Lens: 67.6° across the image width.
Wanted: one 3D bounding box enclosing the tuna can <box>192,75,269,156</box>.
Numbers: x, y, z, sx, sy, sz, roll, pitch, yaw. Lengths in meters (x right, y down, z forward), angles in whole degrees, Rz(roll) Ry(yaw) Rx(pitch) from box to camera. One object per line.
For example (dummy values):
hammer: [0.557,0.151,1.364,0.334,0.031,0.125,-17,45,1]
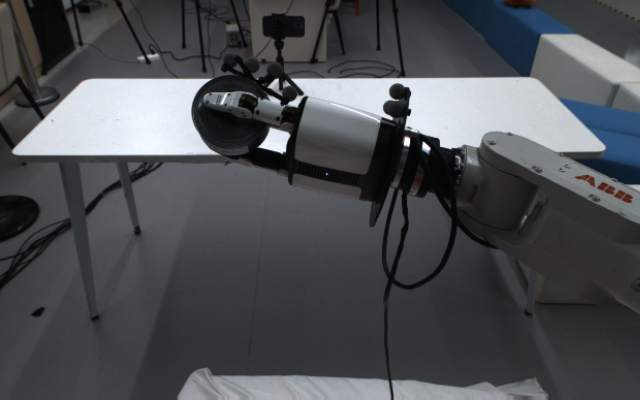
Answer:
tuna can: [-0.098,-0.095,0.548,0.085,0.034,0.085,1,76,-4]
